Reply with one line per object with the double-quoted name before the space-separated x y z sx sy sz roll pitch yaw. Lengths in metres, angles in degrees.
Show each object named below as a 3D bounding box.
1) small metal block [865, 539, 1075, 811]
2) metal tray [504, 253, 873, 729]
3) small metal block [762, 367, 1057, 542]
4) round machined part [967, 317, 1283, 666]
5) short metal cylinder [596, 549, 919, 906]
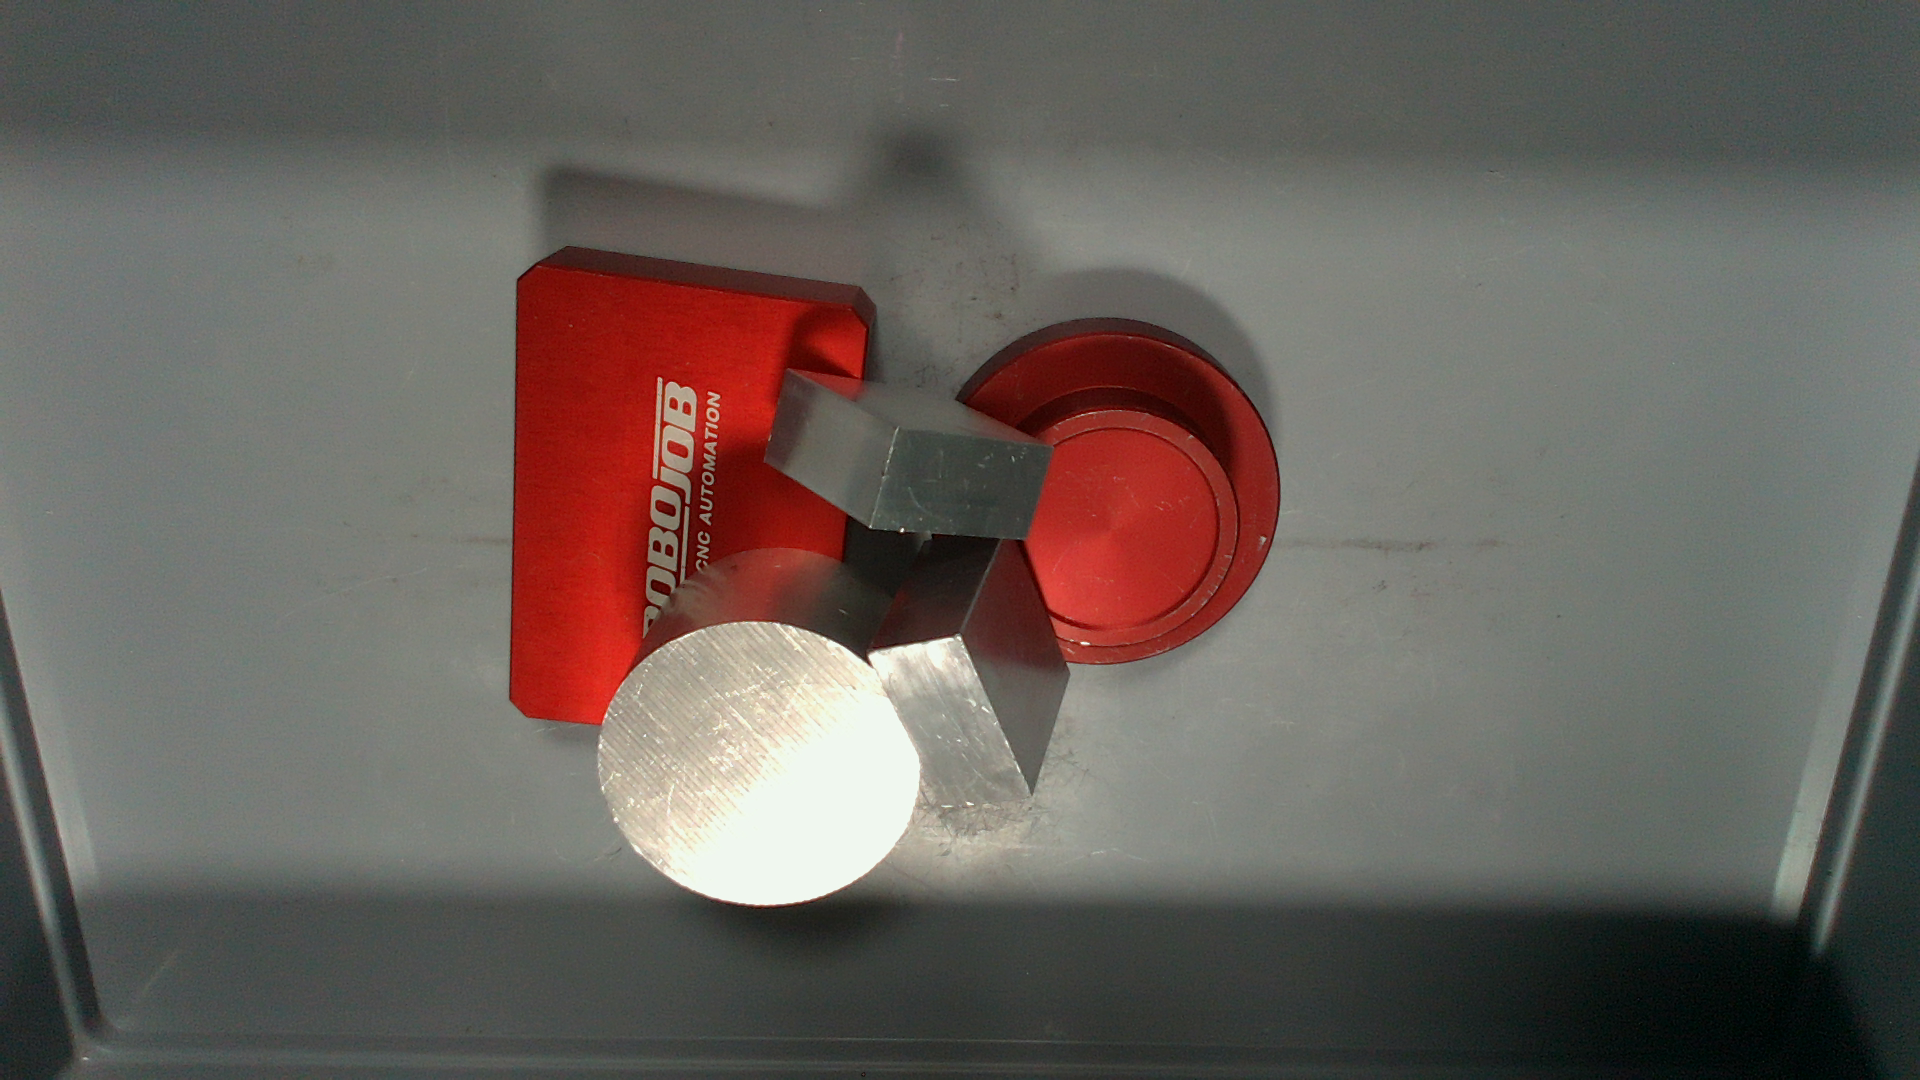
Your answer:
"small metal block" 0.004 0.032 0.350 0.025 0.050 0.050 -12 118 24
"metal tray" -0.076 -0.009 0.384 0.090 0.030 0.130 7 110 -3
"small metal block" -0.013 -0.021 0.344 0.050 0.050 0.025 4 109 -41
"round machined part" 0.040 -0.009 0.380 0.098 0.042 0.098 0 110 0
"short metal cylinder" -0.050 0.049 0.365 0.080 0.050 0.080 0 110 0
